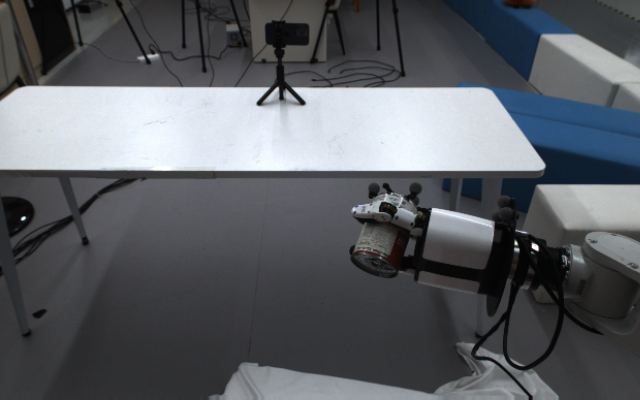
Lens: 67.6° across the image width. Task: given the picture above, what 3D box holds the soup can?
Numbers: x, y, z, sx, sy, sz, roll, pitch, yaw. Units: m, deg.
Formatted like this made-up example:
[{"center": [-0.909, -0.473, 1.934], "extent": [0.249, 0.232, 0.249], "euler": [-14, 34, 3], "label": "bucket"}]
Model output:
[{"center": [0.092, 0.048, 0.675], "extent": [0.067, 0.067, 0.101], "euler": [15, 62, 18], "label": "soup can"}]
